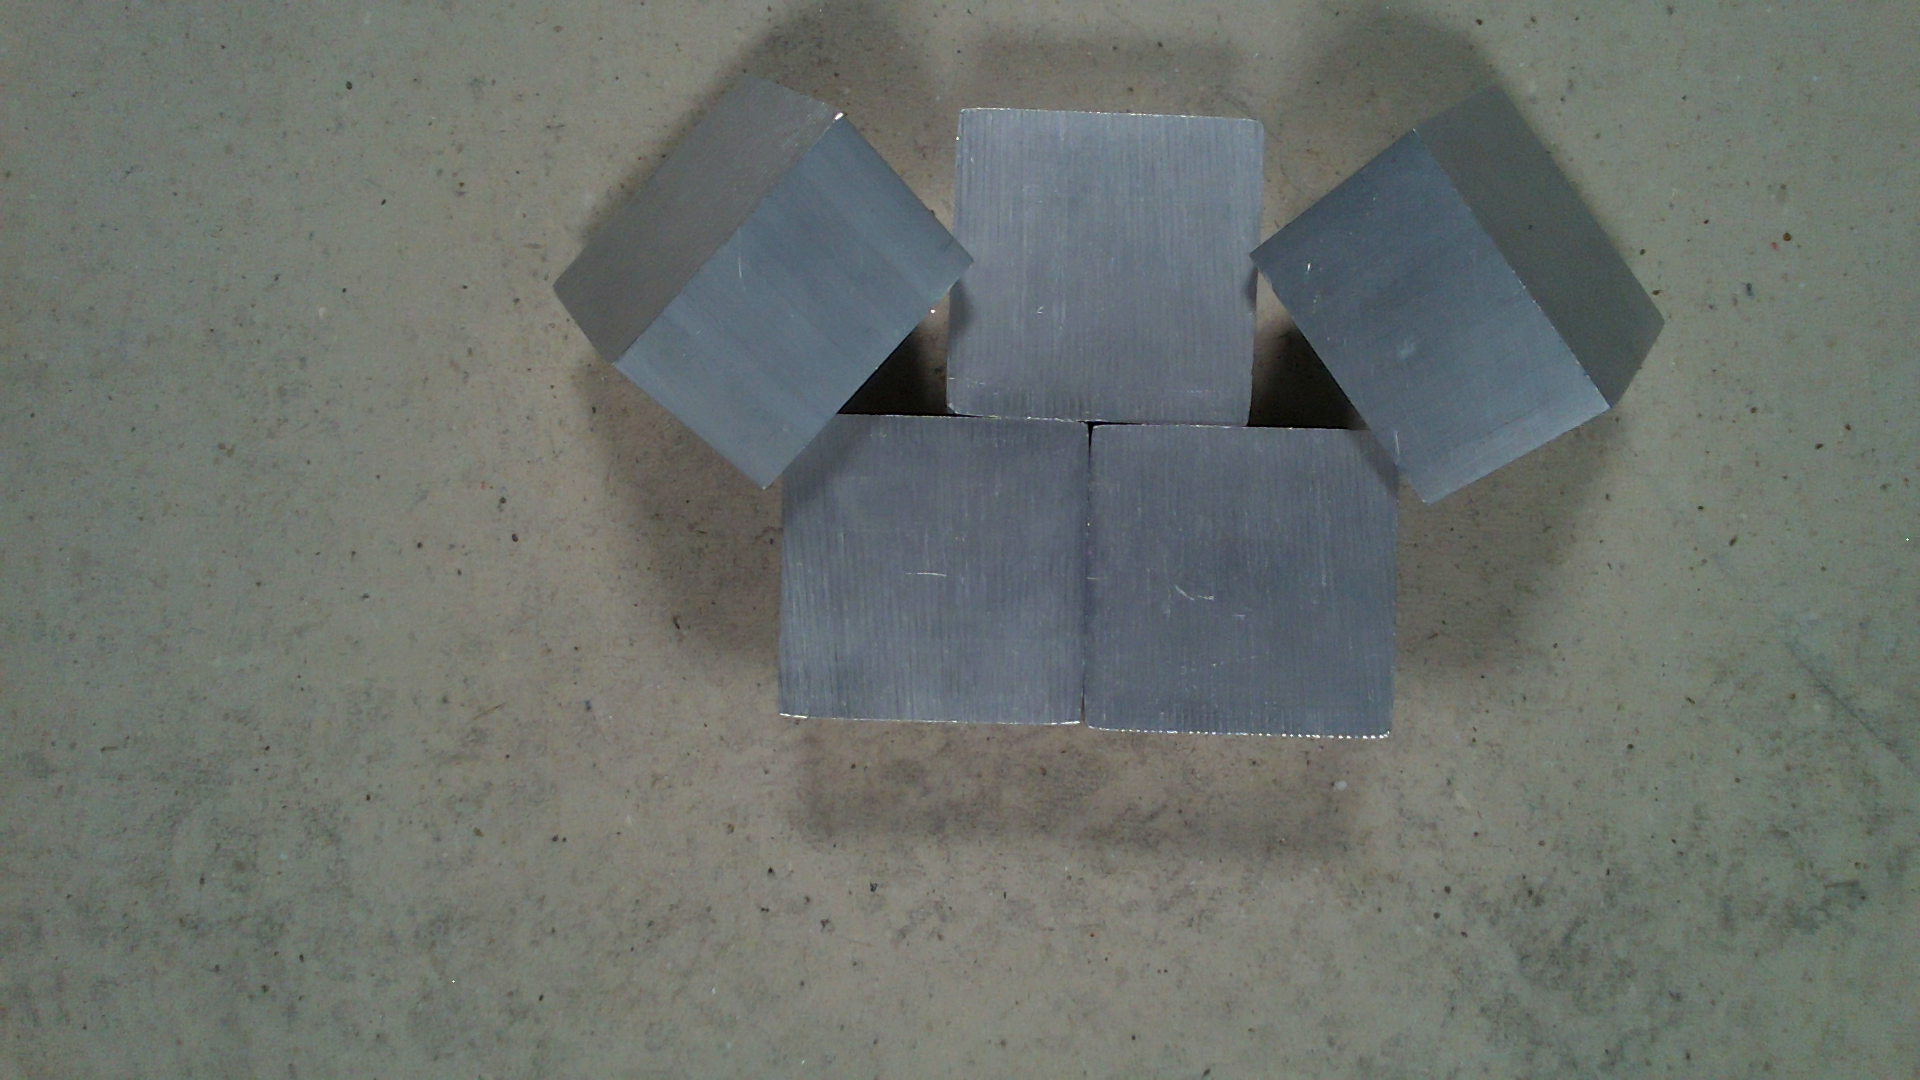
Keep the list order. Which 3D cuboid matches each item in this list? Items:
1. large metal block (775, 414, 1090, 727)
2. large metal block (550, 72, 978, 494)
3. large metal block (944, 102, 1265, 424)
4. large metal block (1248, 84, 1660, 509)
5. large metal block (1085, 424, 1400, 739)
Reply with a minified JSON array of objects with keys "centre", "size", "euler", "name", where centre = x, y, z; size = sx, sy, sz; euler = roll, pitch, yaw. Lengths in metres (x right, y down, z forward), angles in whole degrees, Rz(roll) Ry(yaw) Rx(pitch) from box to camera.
[{"centre":[-0.007,0.008,0.382],"size":[0.080,0.050,0.080],"euler":[1,90,0],"name":"large metal block"},{"centre":[-0.054,-0.070,0.361],"size":[0.080,0.080,0.050],"euler":[-47,125,0],"name":"large metal block"},{"centre":[0.038,-0.072,0.383],"size":[0.080,0.050,0.080],"euler":[3,90,0],"name":"large metal block"},{"centre":[0.133,-0.067,0.362],"size":[0.050,0.080,0.080],"euler":[-35,90,41],"name":"large metal block"},{"centre":[0.074,0.011,0.381],"size":[0.080,0.050,0.080],"euler":[1,90,0],"name":"large metal block"}]
